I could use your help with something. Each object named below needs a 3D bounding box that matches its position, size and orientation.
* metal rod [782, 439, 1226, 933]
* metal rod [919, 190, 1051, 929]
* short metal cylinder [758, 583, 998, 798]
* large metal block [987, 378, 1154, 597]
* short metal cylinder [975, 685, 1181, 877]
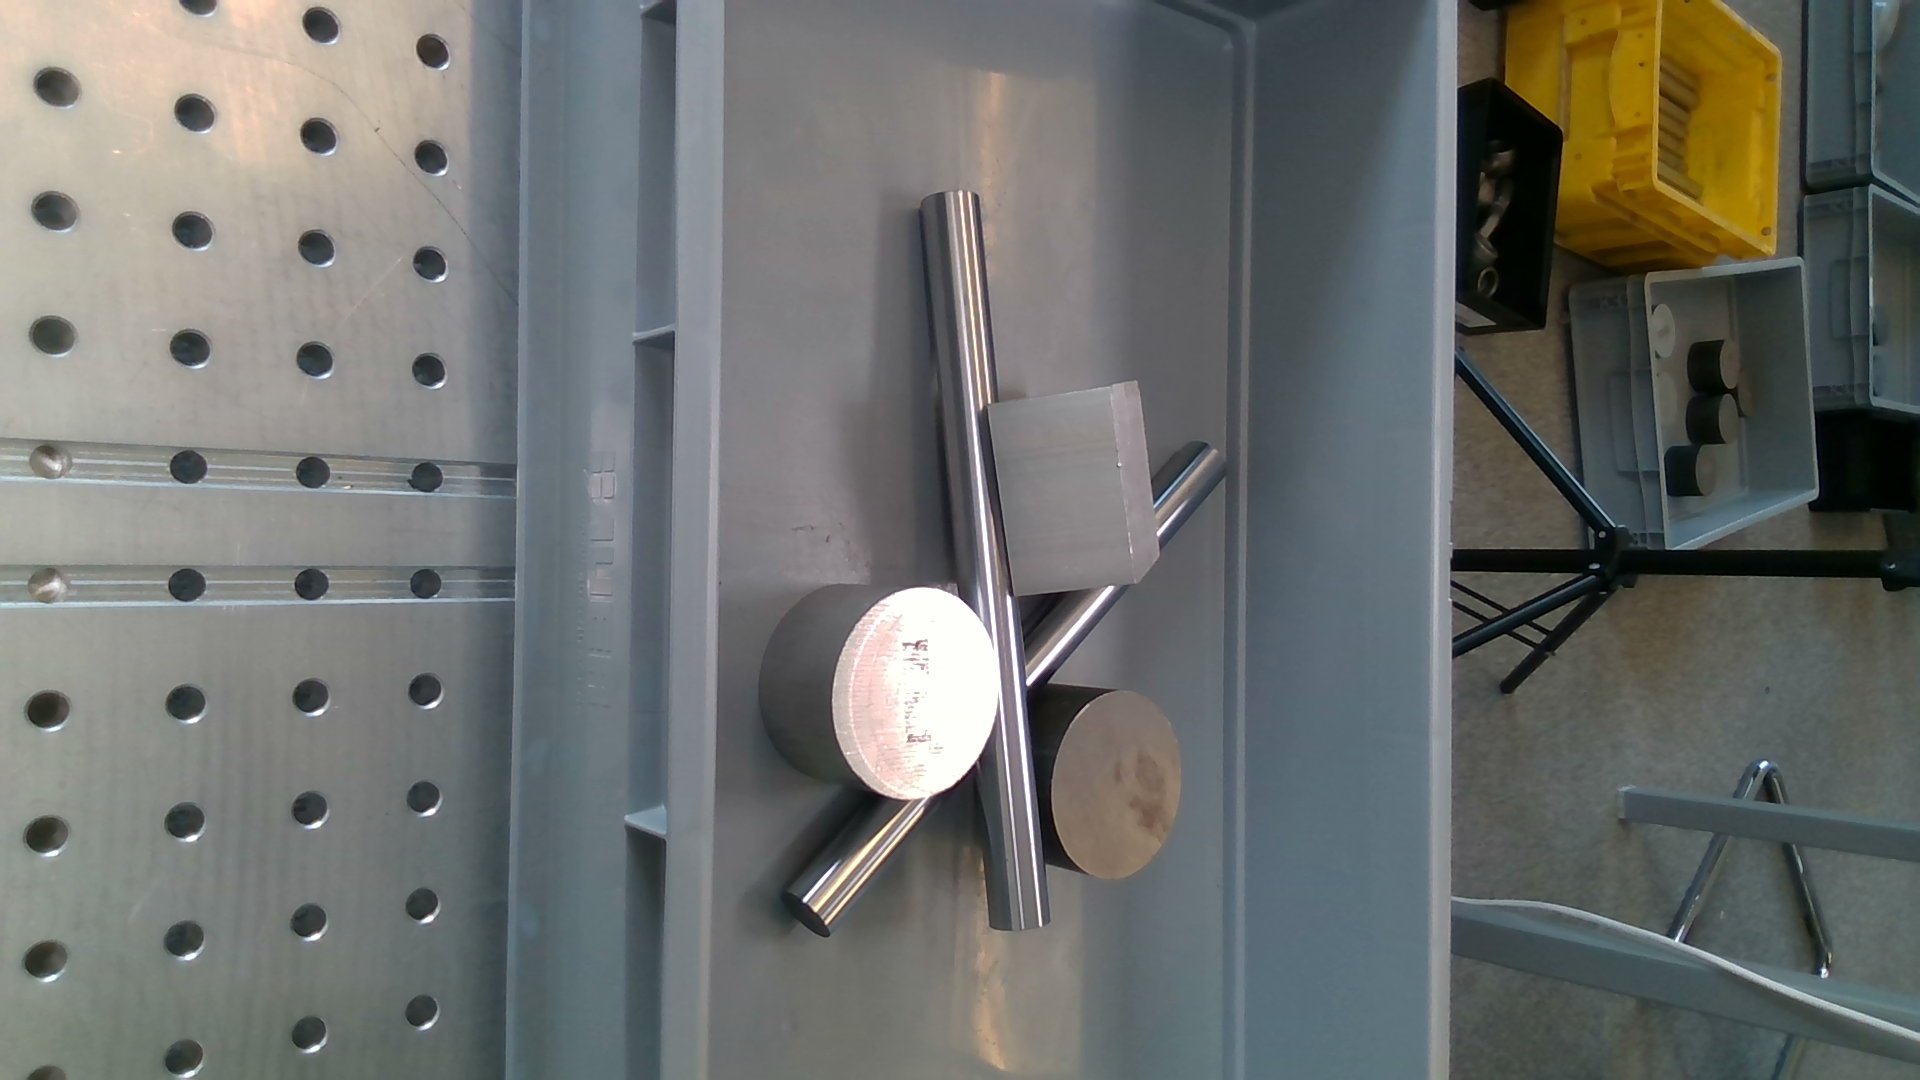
[{"bbox_3d":[0.031,0.052,0.609,0.299,0.025,0.025,-45,117,-31],"label":"metal rod"},{"bbox_3d":[0.010,0.006,0.568,0.025,0.025,0.300,-3,86,-40],"label":"metal rod"},{"bbox_3d":[-0.031,0.057,0.539,0.080,0.050,0.080,0,90,-40],"label":"short metal cylinder"},{"bbox_3d":[0.050,-0.025,0.585,0.080,0.050,0.080,-29,112,-73],"label":"large metal block"},{"bbox_3d":[0.053,0.105,0.611,0.080,0.050,0.080,0,90,-40],"label":"short metal cylinder"}]
